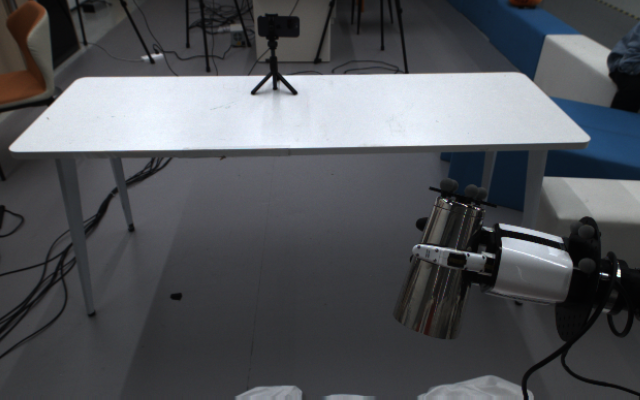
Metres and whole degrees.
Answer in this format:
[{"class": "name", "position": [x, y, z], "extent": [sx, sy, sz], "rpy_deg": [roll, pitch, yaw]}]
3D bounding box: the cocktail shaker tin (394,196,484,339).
[{"class": "cocktail shaker tin", "position": [0.166, 0.085, 0.647], "extent": [0.093, 0.170, 0.093], "rpy_deg": [14, 6, -2]}]
